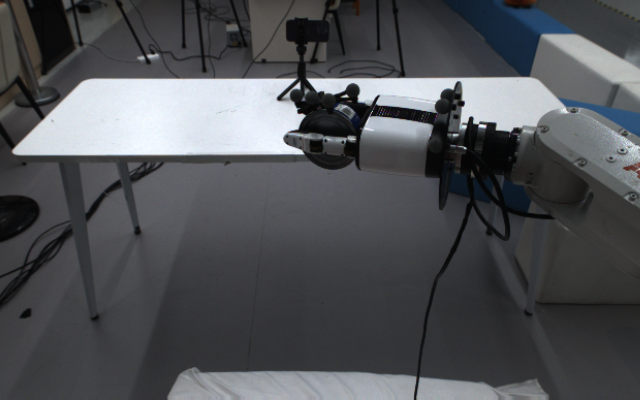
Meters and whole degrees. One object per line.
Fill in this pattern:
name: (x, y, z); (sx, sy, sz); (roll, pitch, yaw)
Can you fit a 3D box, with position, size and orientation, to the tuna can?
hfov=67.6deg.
tuna can: (0.017, -0.087, 0.648); (0.085, 0.085, 0.034); (14, 34, 17)
